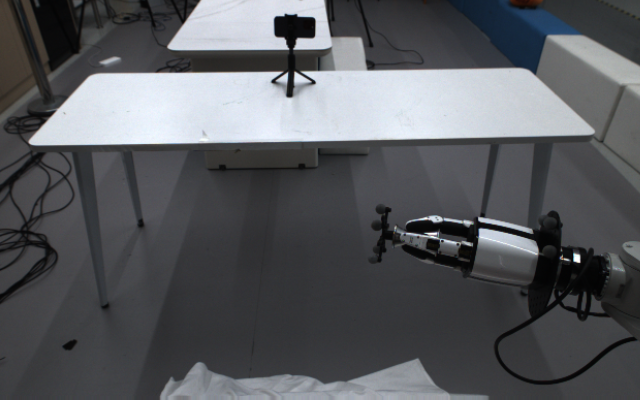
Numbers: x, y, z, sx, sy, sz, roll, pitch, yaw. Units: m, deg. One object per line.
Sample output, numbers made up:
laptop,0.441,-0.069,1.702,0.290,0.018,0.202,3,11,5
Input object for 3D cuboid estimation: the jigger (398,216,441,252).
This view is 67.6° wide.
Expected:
jigger,0.156,0.057,0.752,0.071,0.043,0.043,8,35,15
